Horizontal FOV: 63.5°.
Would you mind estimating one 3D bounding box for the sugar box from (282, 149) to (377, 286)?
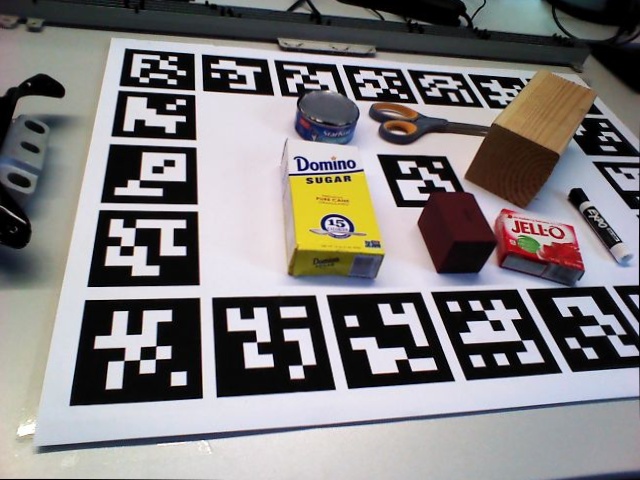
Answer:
[{"bbox_3d":[0.006,-0.030,0.583,0.093,0.045,0.175,4,48,-9],"label":"sugar box"}]

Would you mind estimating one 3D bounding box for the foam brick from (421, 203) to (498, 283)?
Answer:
[{"bbox_3d":[0.152,0.004,0.572,0.053,0.051,0.077,1,50,-10],"label":"foam brick"}]

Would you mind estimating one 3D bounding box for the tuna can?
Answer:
[{"bbox_3d":[0.008,-0.156,0.697,0.086,0.034,0.085,6,49,-7],"label":"tuna can"}]

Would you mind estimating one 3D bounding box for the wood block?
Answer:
[{"bbox_3d":[0.303,-0.129,0.703,0.090,0.091,0.205,33,50,18],"label":"wood block"}]

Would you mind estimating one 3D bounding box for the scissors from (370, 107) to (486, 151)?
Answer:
[{"bbox_3d":[0.174,-0.155,0.746,0.203,0.016,0.087,4,49,-5],"label":"scissors"}]

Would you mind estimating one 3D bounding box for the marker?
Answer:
[{"bbox_3d":[0.354,-0.008,0.648,0.019,0.020,0.120,1,51,-11],"label":"marker"}]

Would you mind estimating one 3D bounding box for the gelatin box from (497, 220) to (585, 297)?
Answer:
[{"bbox_3d":[0.253,0.020,0.598,0.089,0.030,0.073,14,49,1],"label":"gelatin box"}]
